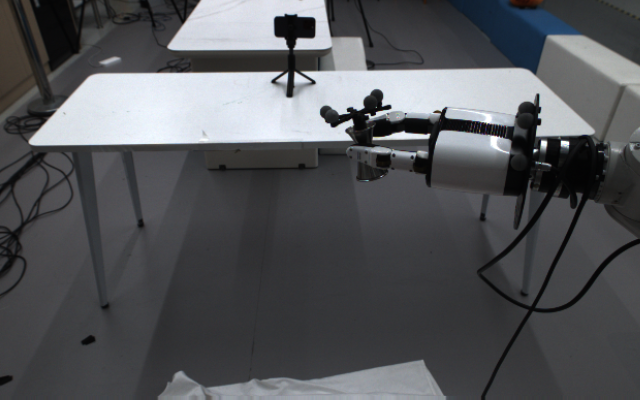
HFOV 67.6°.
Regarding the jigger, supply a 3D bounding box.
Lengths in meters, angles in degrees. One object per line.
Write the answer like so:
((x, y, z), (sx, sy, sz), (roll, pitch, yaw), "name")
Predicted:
((0.061, -0.064, 0.632), (0.043, 0.071, 0.043), (-14, 21, 6), "jigger")
